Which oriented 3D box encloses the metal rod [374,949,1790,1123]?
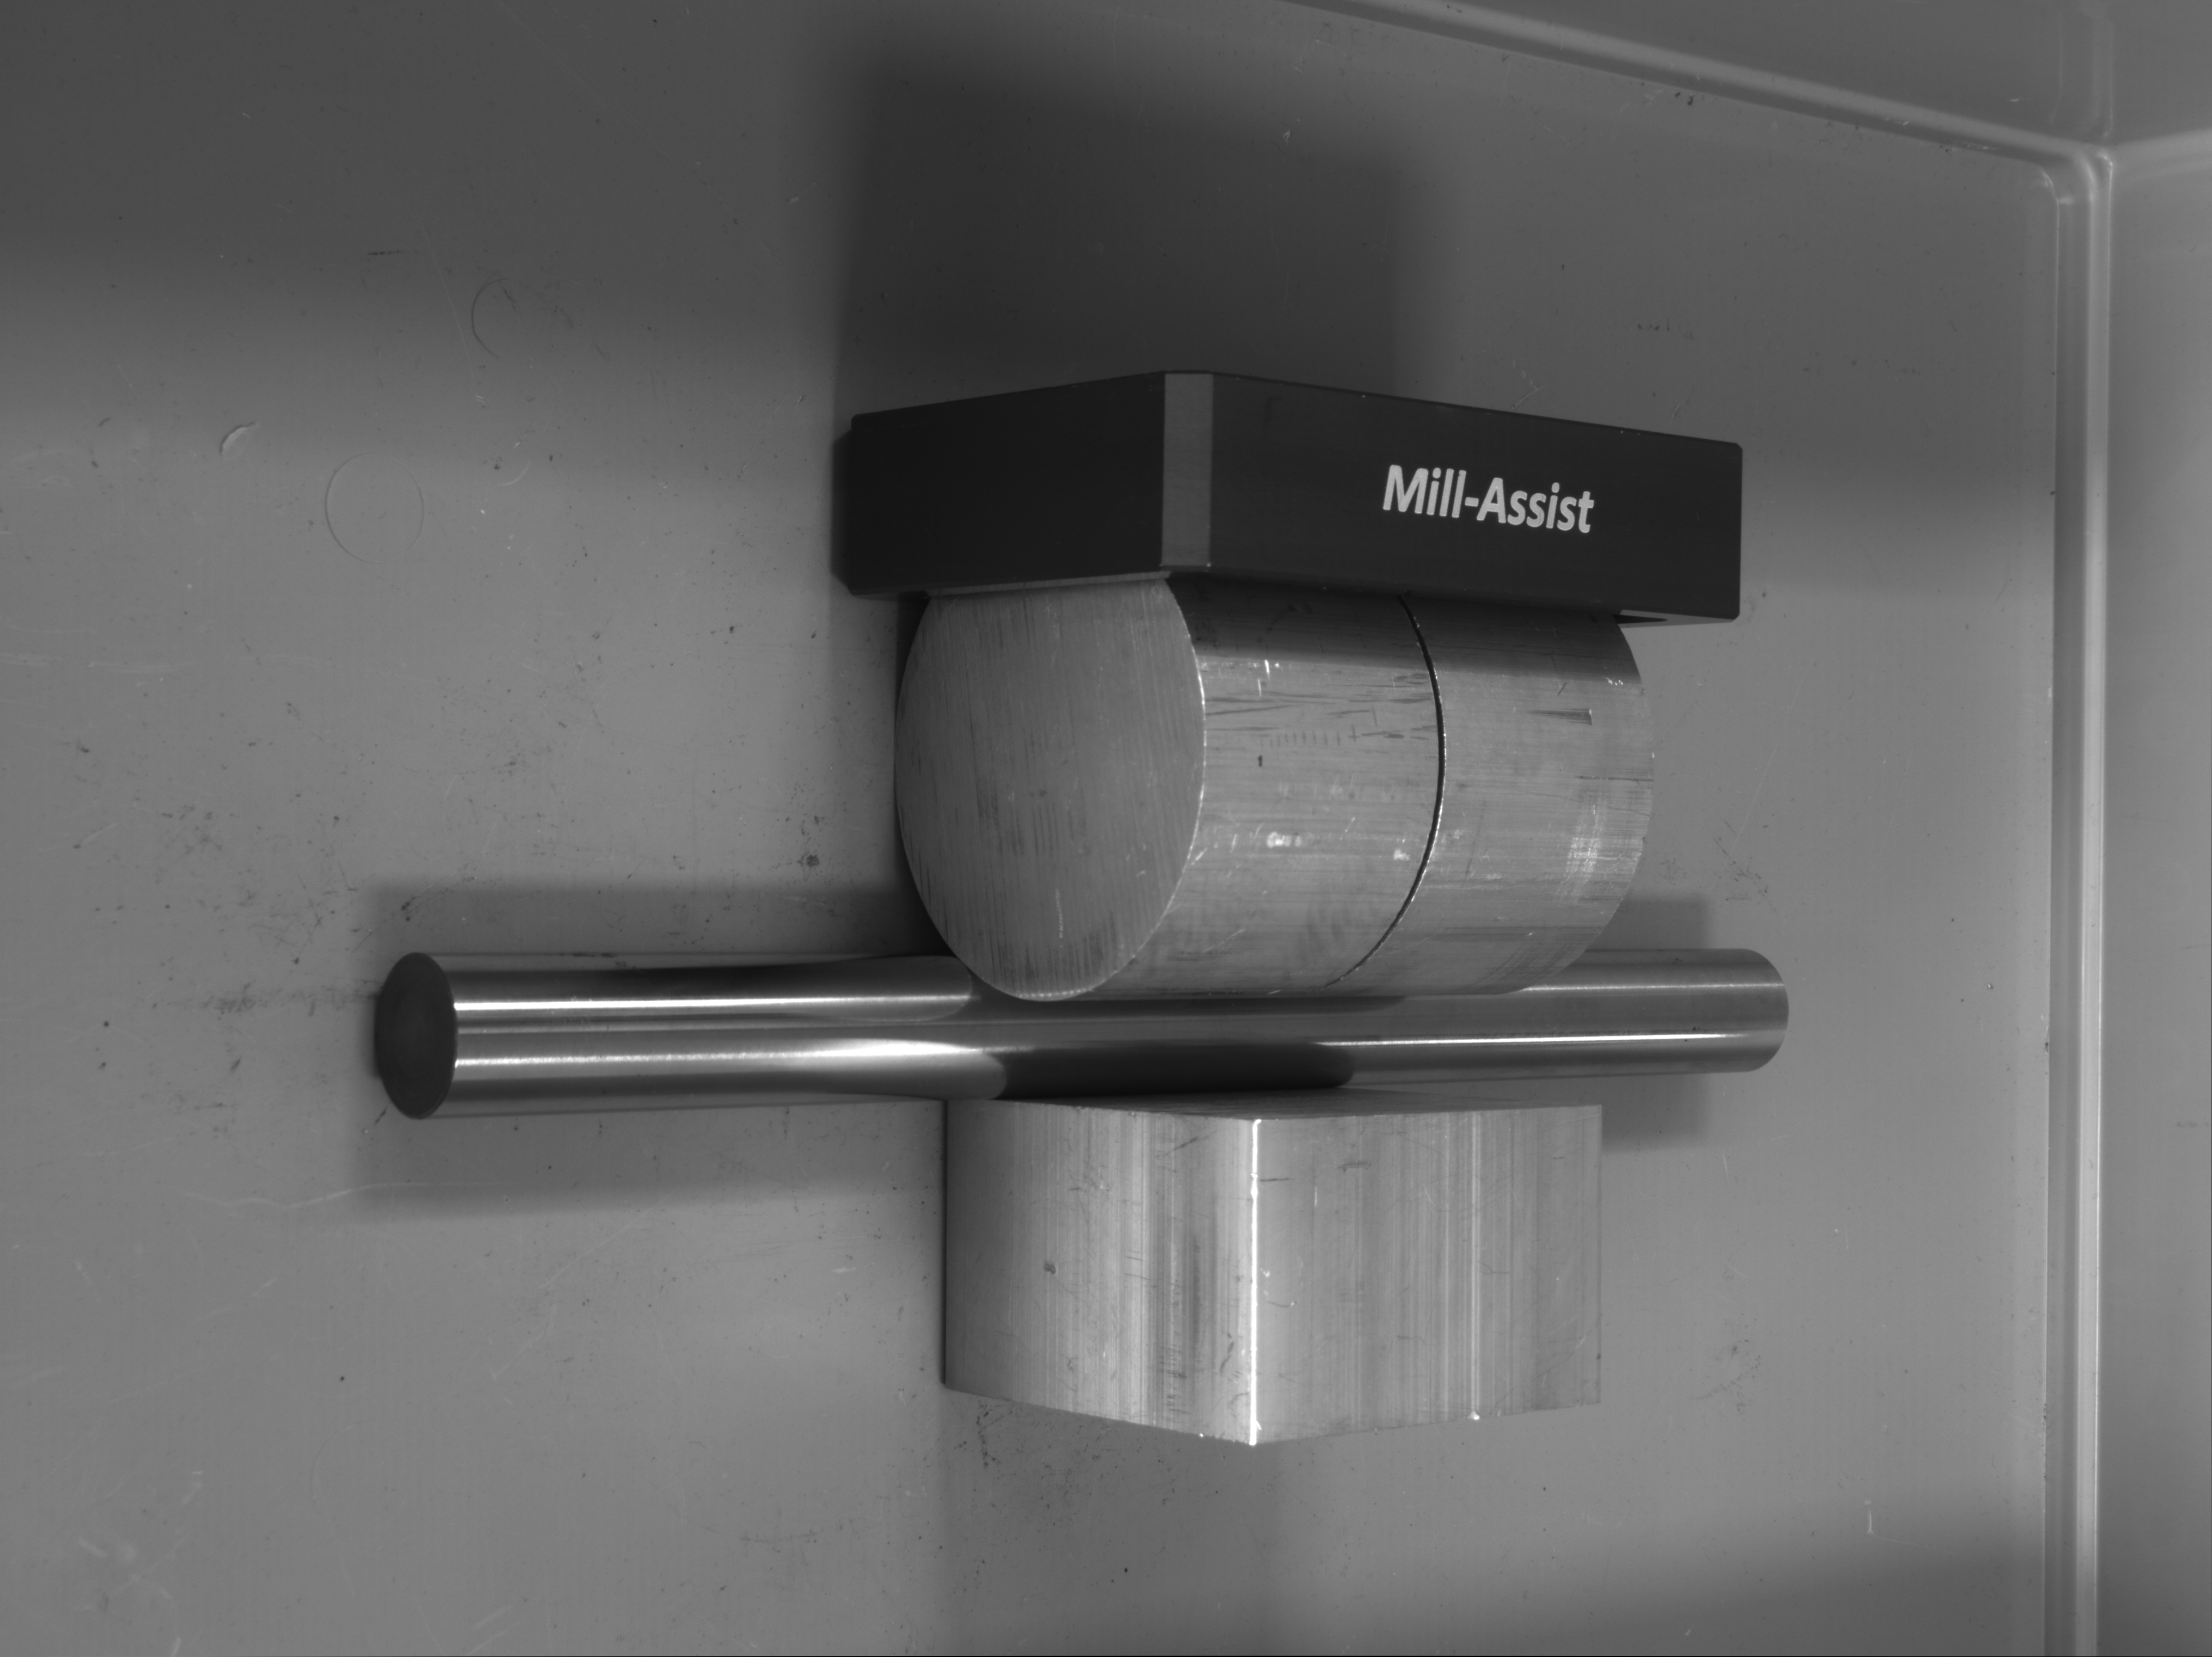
[{"bbox_3d":[0.012,0.034,0.645,0.301,0.025,0.025,1,89,-40],"label":"metal rod"}]

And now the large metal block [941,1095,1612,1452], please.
[{"bbox_3d":[0.028,0.072,0.622,0.080,0.080,0.050,1,89,-40],"label":"large metal block"}]

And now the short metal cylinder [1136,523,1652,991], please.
[{"bbox_3d":[0.048,-0.011,0.641,0.050,0.080,0.080,2,89,-40],"label":"short metal cylinder"}]

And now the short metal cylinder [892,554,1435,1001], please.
[{"bbox_3d":[0.008,-0.012,0.607,0.050,0.080,0.080,1,89,-40],"label":"short metal cylinder"}]

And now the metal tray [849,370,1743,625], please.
[{"bbox_3d":[0.033,-0.052,0.620,0.130,0.090,0.030,2,89,-40],"label":"metal tray"}]
